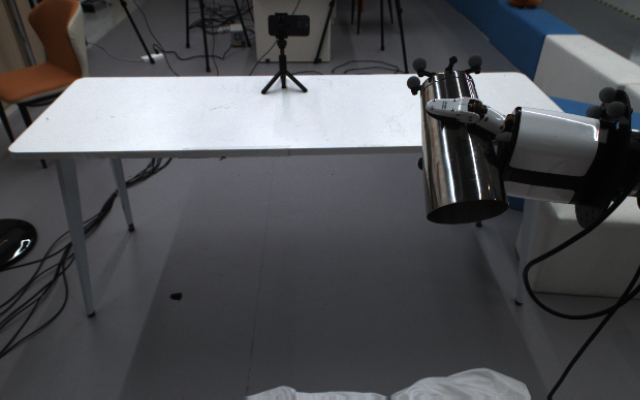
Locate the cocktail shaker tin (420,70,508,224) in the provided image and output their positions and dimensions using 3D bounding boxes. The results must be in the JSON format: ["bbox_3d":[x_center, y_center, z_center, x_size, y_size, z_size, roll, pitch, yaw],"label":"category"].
[{"bbox_3d":[0.165,-0.065,0.582,0.093,0.093,0.170,-2,71,-6],"label":"cocktail shaker tin"}]
